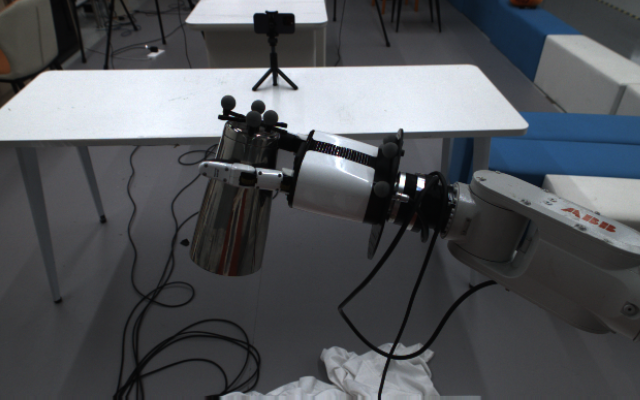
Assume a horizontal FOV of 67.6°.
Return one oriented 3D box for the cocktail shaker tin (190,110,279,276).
[{"bbox_3d":[-0.096,-0.008,0.588,0.093,0.170,0.093,14,19,-5],"label":"cocktail shaker tin"}]
